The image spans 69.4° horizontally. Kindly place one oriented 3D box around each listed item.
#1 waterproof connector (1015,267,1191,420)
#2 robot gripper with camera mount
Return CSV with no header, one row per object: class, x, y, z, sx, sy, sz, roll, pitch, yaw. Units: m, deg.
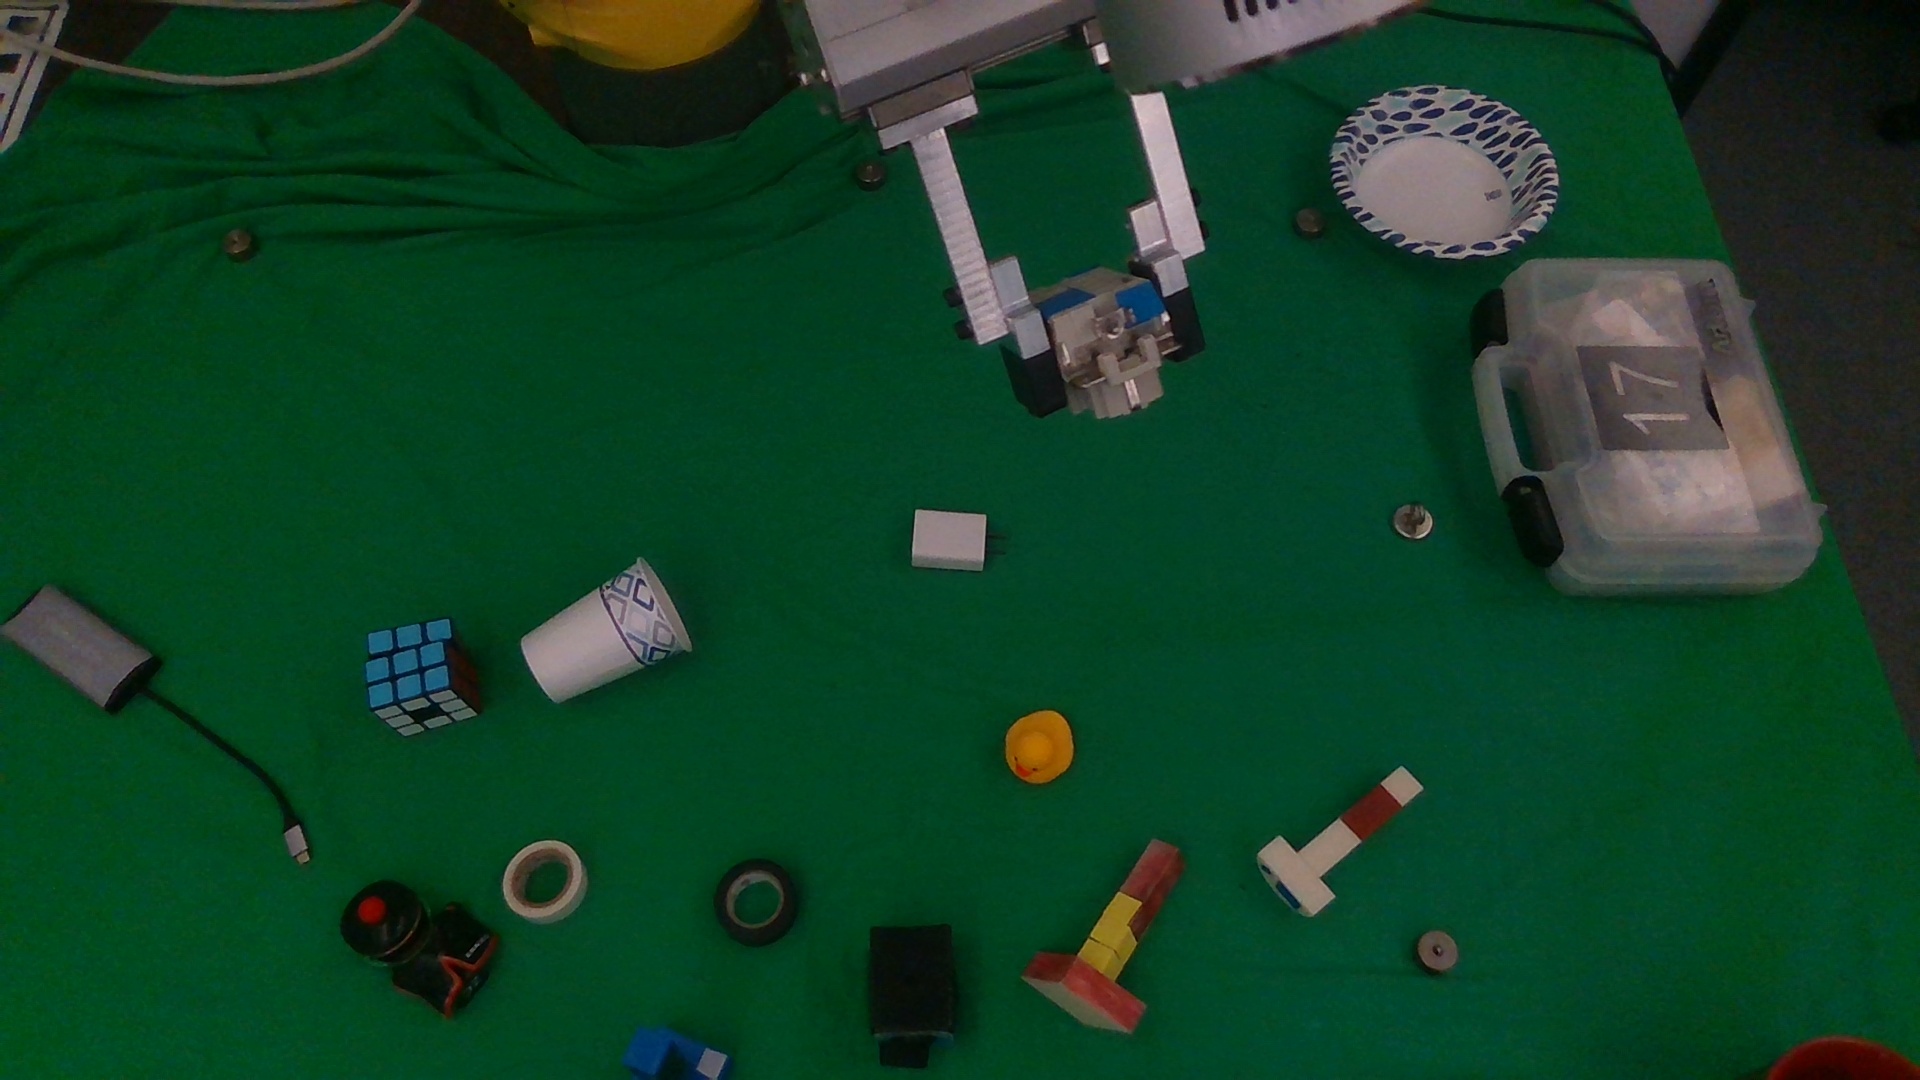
waterproof connector,0.042,-0.059,0.420,0.035,0.065,0.037,-26,110,-9
robot gripper with camera mount,0.052,-0.103,0.320,0.119,0.158,0.194,-23,21,-14
